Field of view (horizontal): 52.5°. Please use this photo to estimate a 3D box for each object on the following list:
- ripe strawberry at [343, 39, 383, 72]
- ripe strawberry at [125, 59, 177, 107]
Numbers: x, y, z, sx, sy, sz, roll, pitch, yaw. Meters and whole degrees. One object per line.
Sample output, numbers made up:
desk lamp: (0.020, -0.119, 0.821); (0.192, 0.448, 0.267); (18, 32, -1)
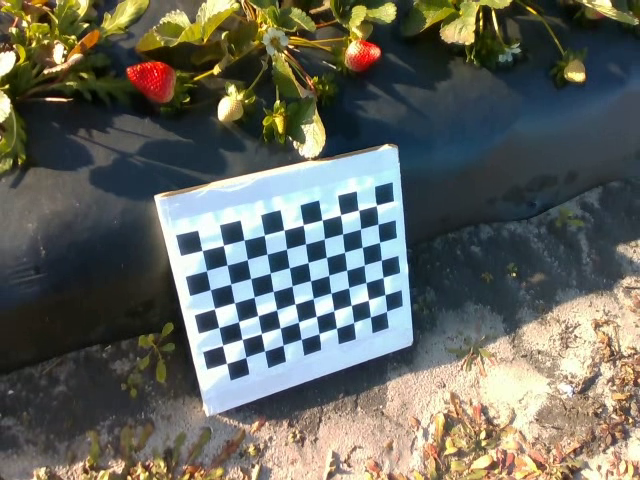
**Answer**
ripe strawberry: (0.044, -0.184, 0.642); (0.045, 0.037, 0.042); (1, 37, 42)
ripe strawberry: (-0.151, -0.144, 0.577); (0.053, 0.044, 0.036); (11, 13, -35)
